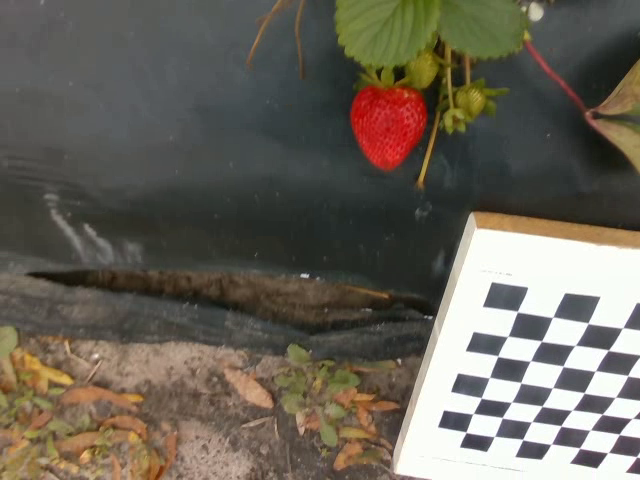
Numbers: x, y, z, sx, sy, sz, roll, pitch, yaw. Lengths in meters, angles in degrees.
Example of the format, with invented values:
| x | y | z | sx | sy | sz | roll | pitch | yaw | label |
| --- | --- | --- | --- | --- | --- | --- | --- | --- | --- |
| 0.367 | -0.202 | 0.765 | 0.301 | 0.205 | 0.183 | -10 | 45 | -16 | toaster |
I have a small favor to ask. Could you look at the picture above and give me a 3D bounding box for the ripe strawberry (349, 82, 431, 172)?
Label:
| x | y | z | sx | sy | sz | roll | pitch | yaw | label |
| --- | --- | --- | --- | --- | --- | --- | --- | --- | --- |
| 0.011 | -0.018 | 0.098 | 0.018 | 0.017 | 0.014 | 5 | -4 | -11 | ripe strawberry |
